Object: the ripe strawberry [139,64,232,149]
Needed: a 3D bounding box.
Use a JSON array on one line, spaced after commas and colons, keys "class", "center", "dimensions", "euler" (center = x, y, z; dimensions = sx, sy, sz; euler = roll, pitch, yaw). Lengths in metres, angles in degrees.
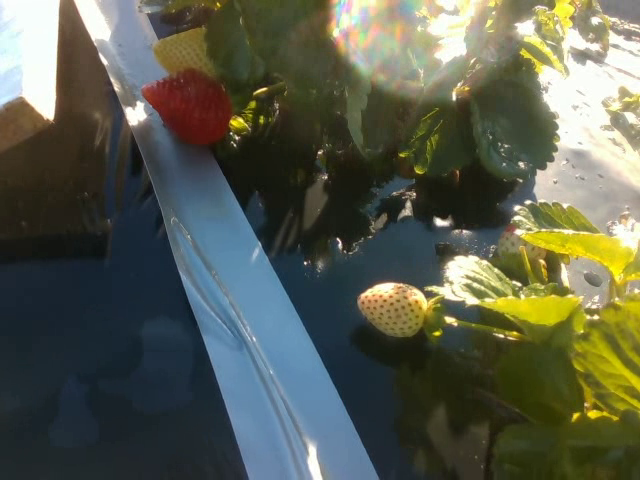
[{"class": "ripe strawberry", "center": [-0.072, -0.074, 0.324], "dimensions": [0.045, 0.049, 0.064], "euler": [-4, -2, 26]}]
